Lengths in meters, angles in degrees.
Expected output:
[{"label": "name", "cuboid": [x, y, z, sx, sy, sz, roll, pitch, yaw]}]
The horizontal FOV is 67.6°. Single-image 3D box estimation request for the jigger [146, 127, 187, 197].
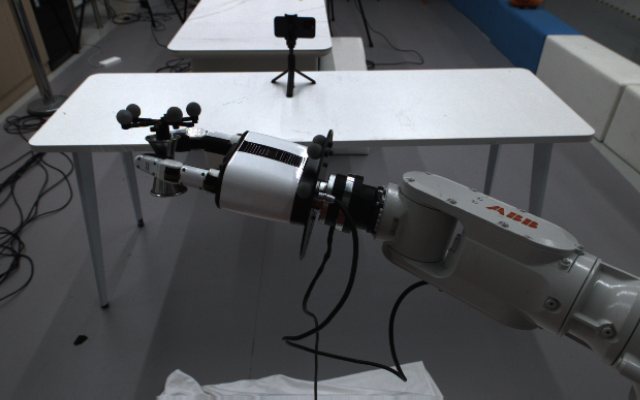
[{"label": "jigger", "cuboid": [-0.184, -0.042, 0.581, 0.043, 0.071, 0.043, 0, 21, 0]}]
